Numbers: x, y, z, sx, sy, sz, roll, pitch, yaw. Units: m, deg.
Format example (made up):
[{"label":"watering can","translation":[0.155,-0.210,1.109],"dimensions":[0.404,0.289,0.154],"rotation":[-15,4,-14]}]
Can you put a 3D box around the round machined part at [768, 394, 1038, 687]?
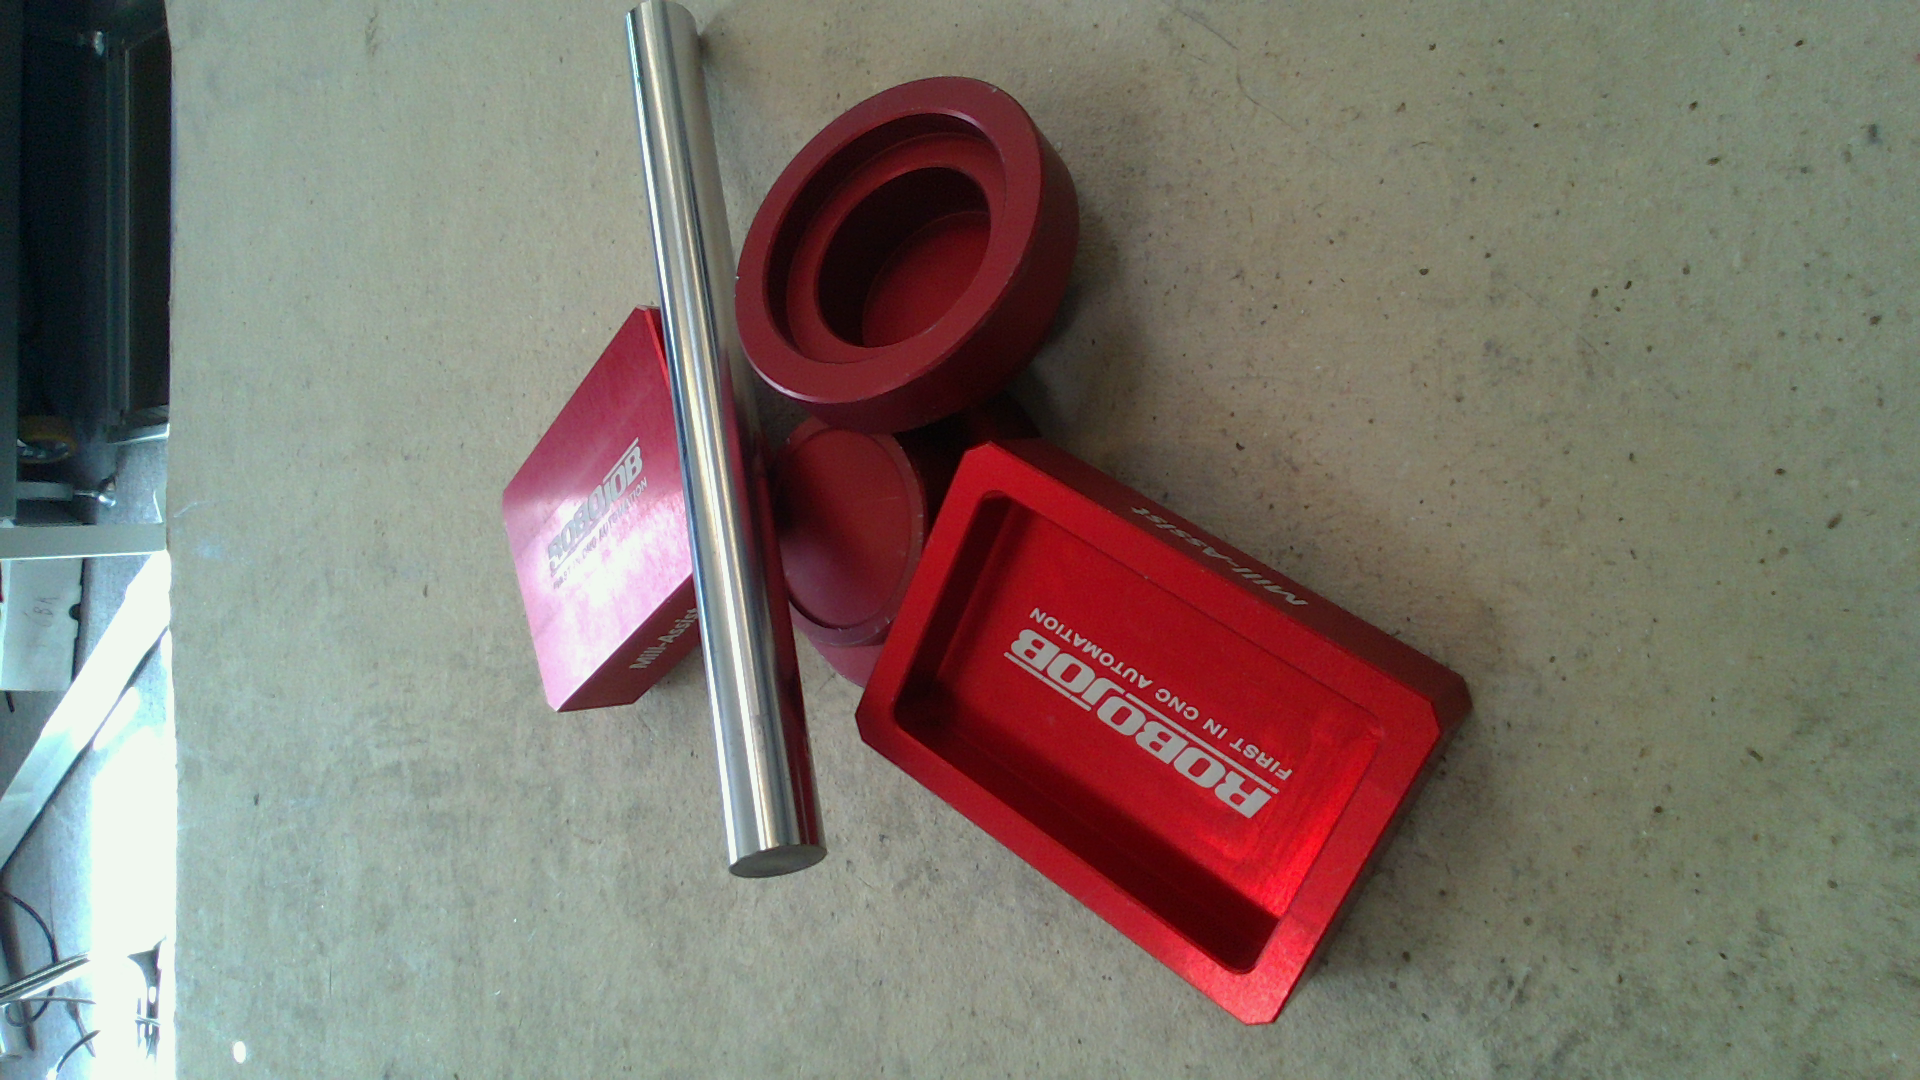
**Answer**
[{"label":"round machined part","translation":[-0.022,-0.004,0.403],"dimensions":[0.098,0.042,0.098],"rotation":[0,90,40]}]

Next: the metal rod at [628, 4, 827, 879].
[{"label":"metal rod","translation":[-0.075,-0.048,0.415],"dimensions":[0.025,0.025,0.300],"rotation":[-34,56,35]}]

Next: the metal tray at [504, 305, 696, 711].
[{"label":"metal tray","translation":[-0.112,-0.007,0.471],"dimensions":[0.130,0.030,0.090],"rotation":[-39,63,43]}]

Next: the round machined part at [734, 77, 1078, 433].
[{"label":"round machined part","translation":[-0.011,-0.073,0.379],"dimensions":[0.098,0.042,0.098],"rotation":[-14,61,28]}]

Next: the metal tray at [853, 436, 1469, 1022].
[{"label":"metal tray","translation":[0.044,0.042,0.341],"dimensions":[0.130,0.030,0.090],"rotation":[32,110,24]}]
